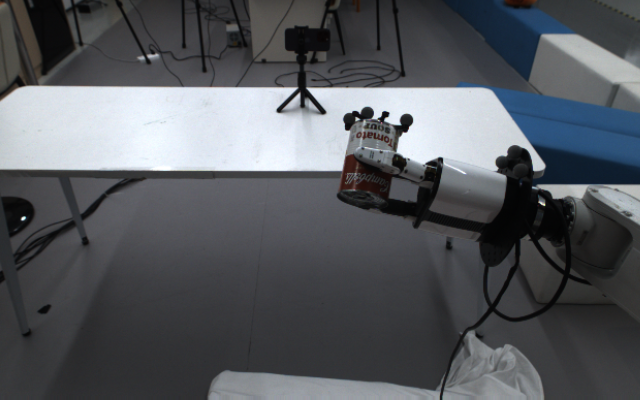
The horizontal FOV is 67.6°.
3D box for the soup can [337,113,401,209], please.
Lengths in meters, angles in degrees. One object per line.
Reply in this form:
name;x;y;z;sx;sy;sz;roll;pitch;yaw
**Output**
soup can;0.066;-0.048;0.639;0.067;0.067;0.101;9;74;9
